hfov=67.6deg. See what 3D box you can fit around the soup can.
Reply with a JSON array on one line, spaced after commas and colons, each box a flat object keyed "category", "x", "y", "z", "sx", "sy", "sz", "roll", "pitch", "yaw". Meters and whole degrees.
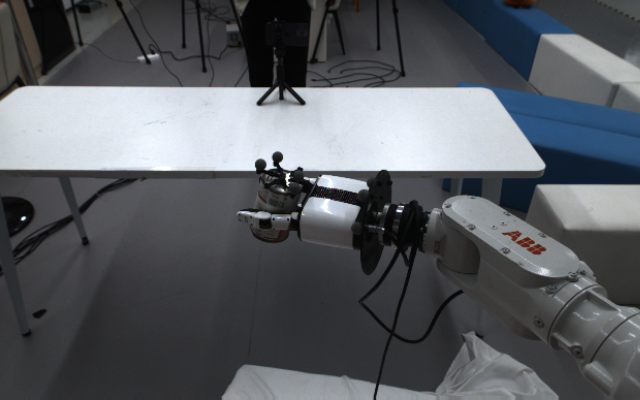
[{"category": "soup can", "x": -0.070, "y": 0.011, "z": 0.769, "sx": 0.067, "sy": 0.101, "sz": 0.067, "roll": 13, "pitch": 35, "yaw": -9}]
